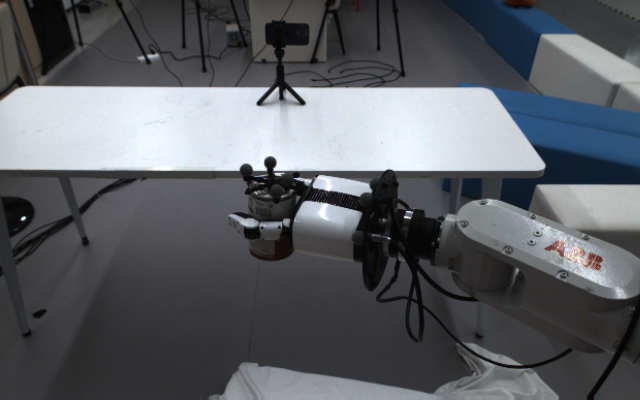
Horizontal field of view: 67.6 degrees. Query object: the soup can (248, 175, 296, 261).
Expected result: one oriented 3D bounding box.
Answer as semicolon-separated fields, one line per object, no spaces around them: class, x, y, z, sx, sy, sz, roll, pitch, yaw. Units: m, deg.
soup can;-0.066;0.026;0.677;0.067;0.101;0.067;3;30;-2
